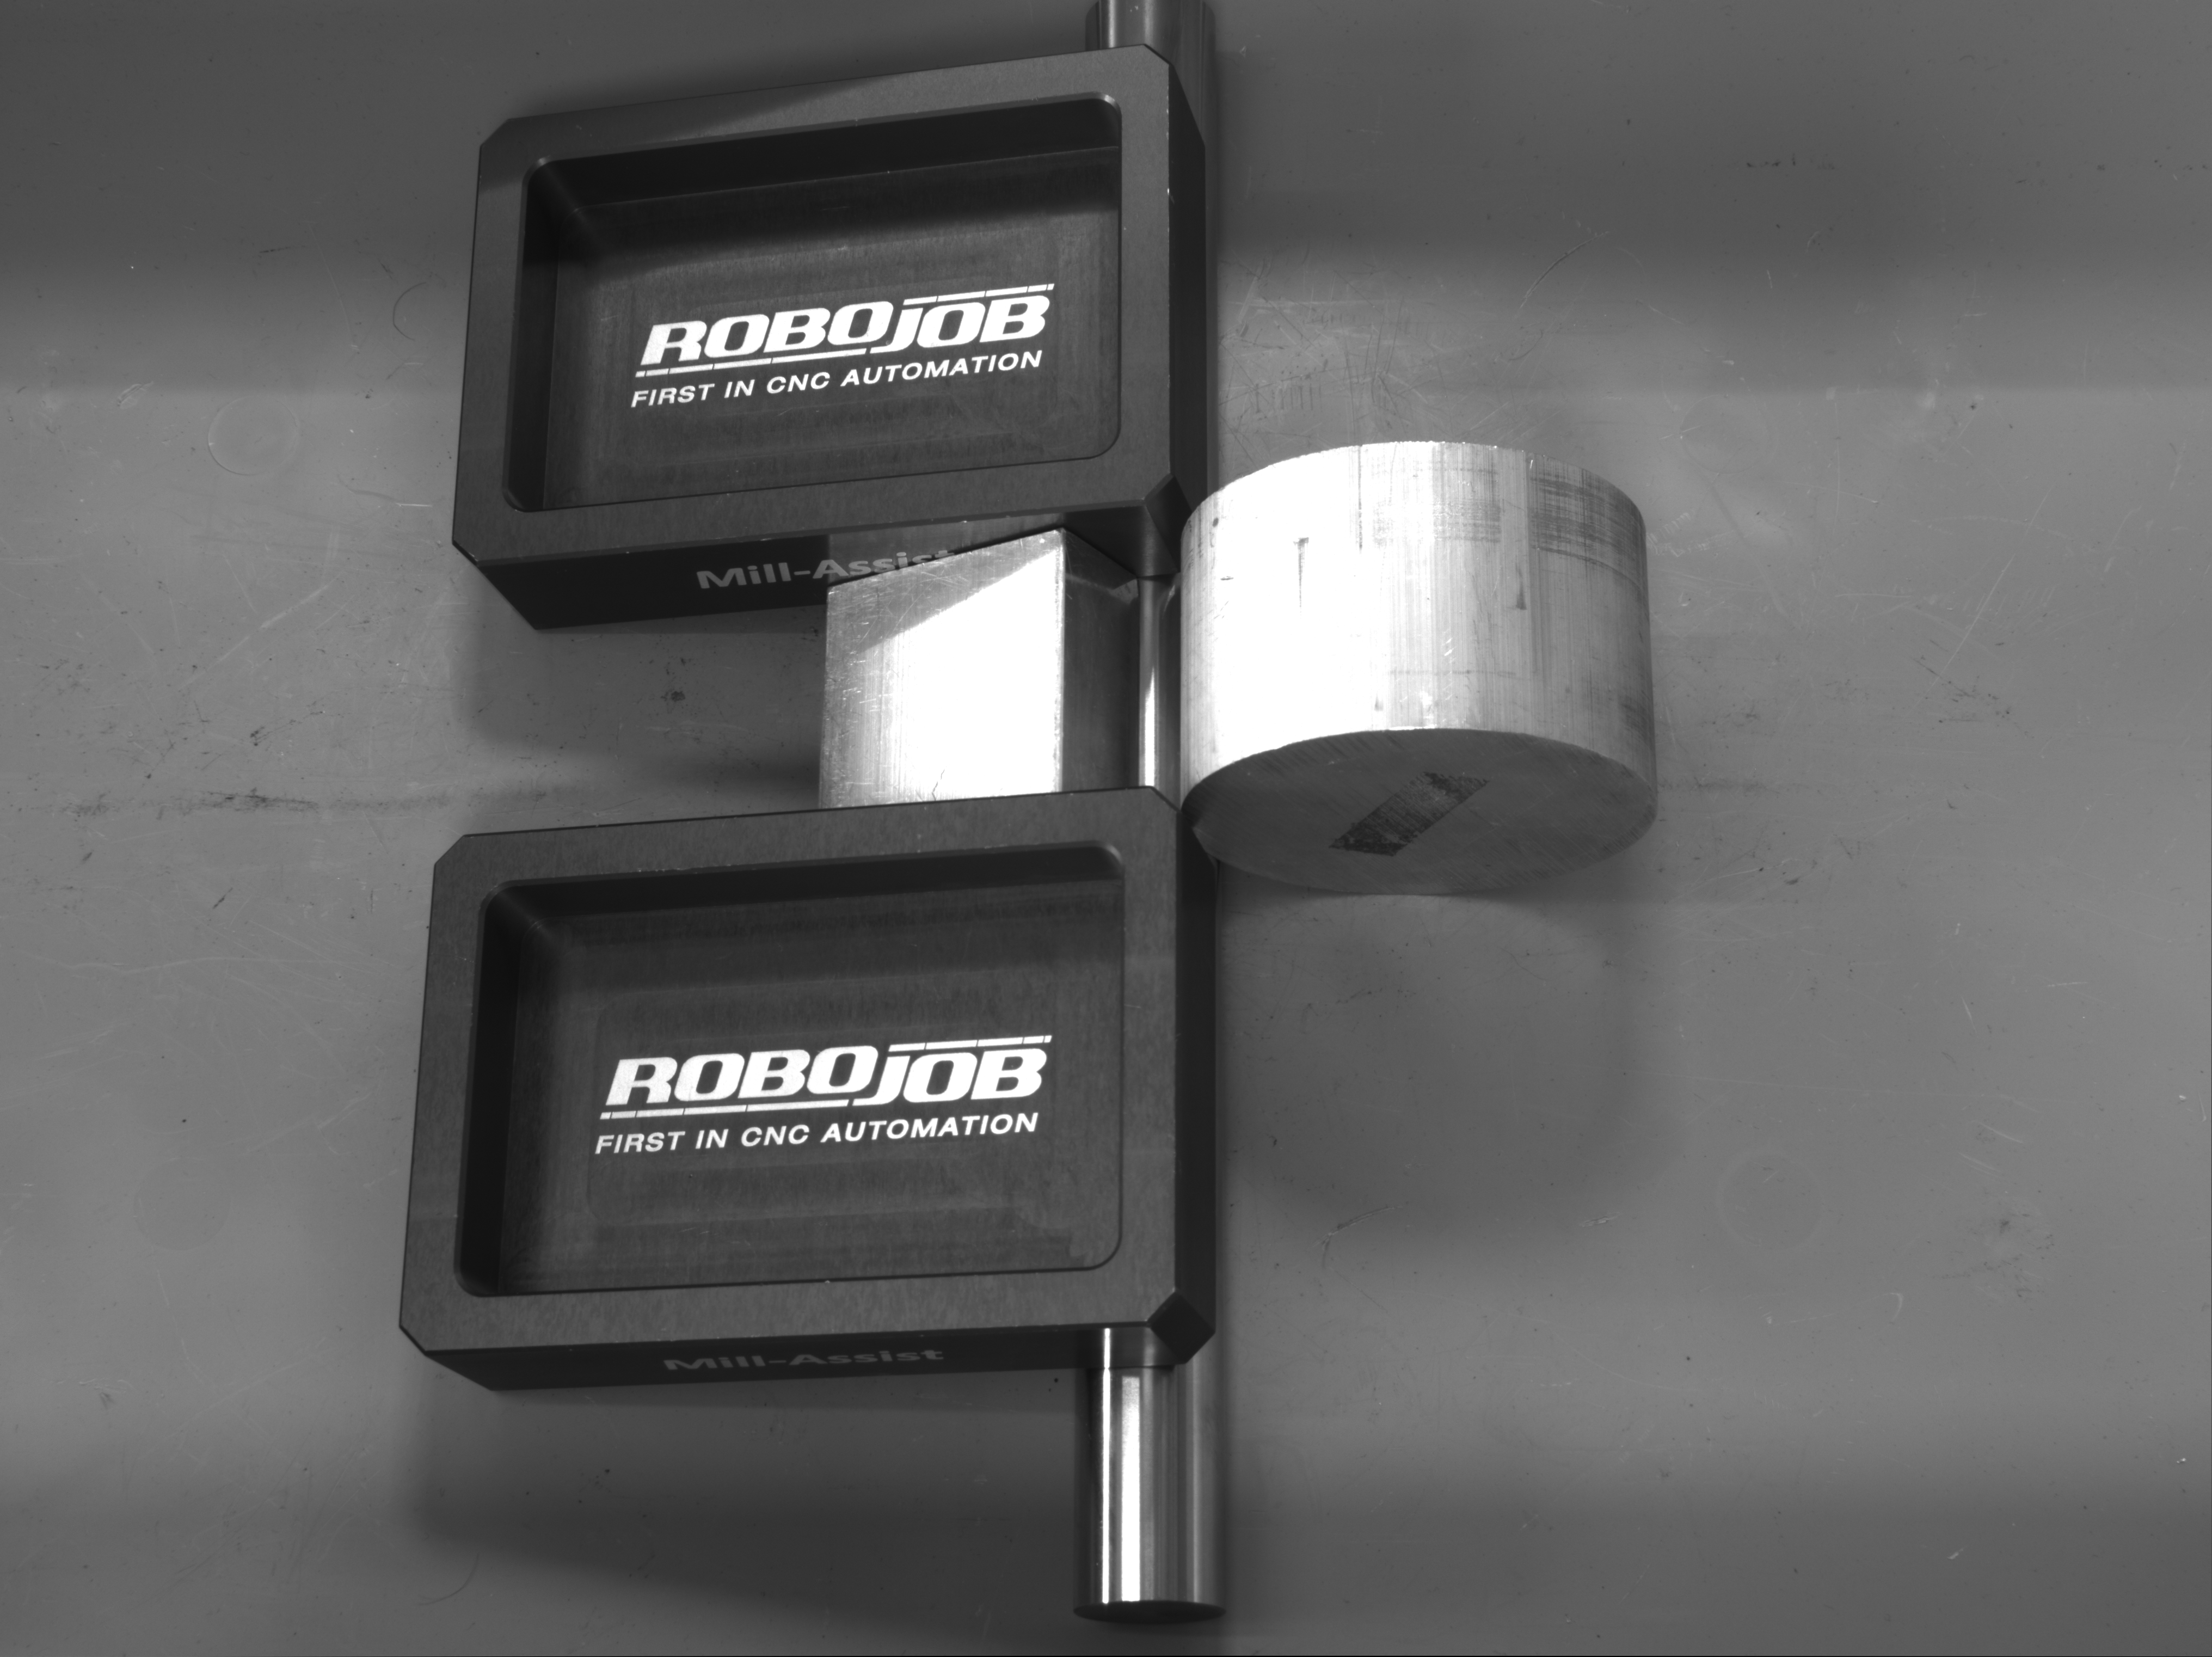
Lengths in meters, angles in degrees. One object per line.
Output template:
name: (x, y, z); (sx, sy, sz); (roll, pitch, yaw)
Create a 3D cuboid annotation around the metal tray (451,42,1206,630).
metal tray: (-0.049, -0.088, 0.659); (0.130, 0.030, 0.090); (-4, 69, 12)

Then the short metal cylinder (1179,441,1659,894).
short metal cylinder: (0.052, -0.026, 0.625); (0.080, 0.080, 0.050); (0, 70, 0)

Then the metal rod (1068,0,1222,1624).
metal rod: (0.007, -0.013, 0.648); (0.025, 0.025, 0.300); (0, 70, 0)

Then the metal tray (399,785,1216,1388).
metal tray: (-0.048, 0.044, 0.611); (0.130, 0.030, 0.090); (-4, 70, 12)

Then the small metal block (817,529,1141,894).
small metal block: (-0.022, -0.020, 0.640); (0.050, 0.025, 0.050); (-11, 67, 30)
